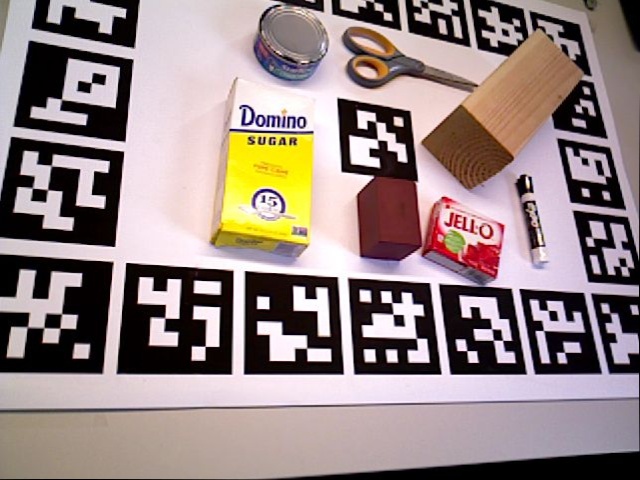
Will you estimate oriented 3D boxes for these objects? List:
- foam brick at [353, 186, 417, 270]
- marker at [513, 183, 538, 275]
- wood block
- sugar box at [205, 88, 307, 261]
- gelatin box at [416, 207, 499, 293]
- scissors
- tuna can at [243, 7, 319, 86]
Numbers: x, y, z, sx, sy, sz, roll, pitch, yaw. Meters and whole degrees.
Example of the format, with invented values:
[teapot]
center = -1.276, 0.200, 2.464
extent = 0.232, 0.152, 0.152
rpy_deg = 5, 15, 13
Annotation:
[foam brick]
center = 0.071, -0.012, 0.599
extent = 0.052, 0.052, 0.077
rpy_deg = 7, 71, -18
[marker]
center = 0.262, -0.016, 0.693
extent = 0.019, 0.020, 0.120
rpy_deg = 6, 73, -19
[wood block]
center = 0.233, -0.156, 0.695
extent = 0.090, 0.093, 0.202
rpy_deg = 45, 62, 0
[sugar box]
center = -0.065, -0.070, 0.578
extent = 0.092, 0.046, 0.175
rpy_deg = 10, 69, -18
[gelatin box]
center = 0.163, 0.011, 0.643
extent = 0.089, 0.031, 0.072
rpy_deg = 23, 66, -12
[scissors]
center = 0.110, -0.215, 0.708
extent = 0.201, 0.016, 0.087
rpy_deg = 12, 69, -14
[tuna can]
center = -0.047, -0.227, 0.639
extent = 0.085, 0.034, 0.085
rpy_deg = 6, 71, -19
